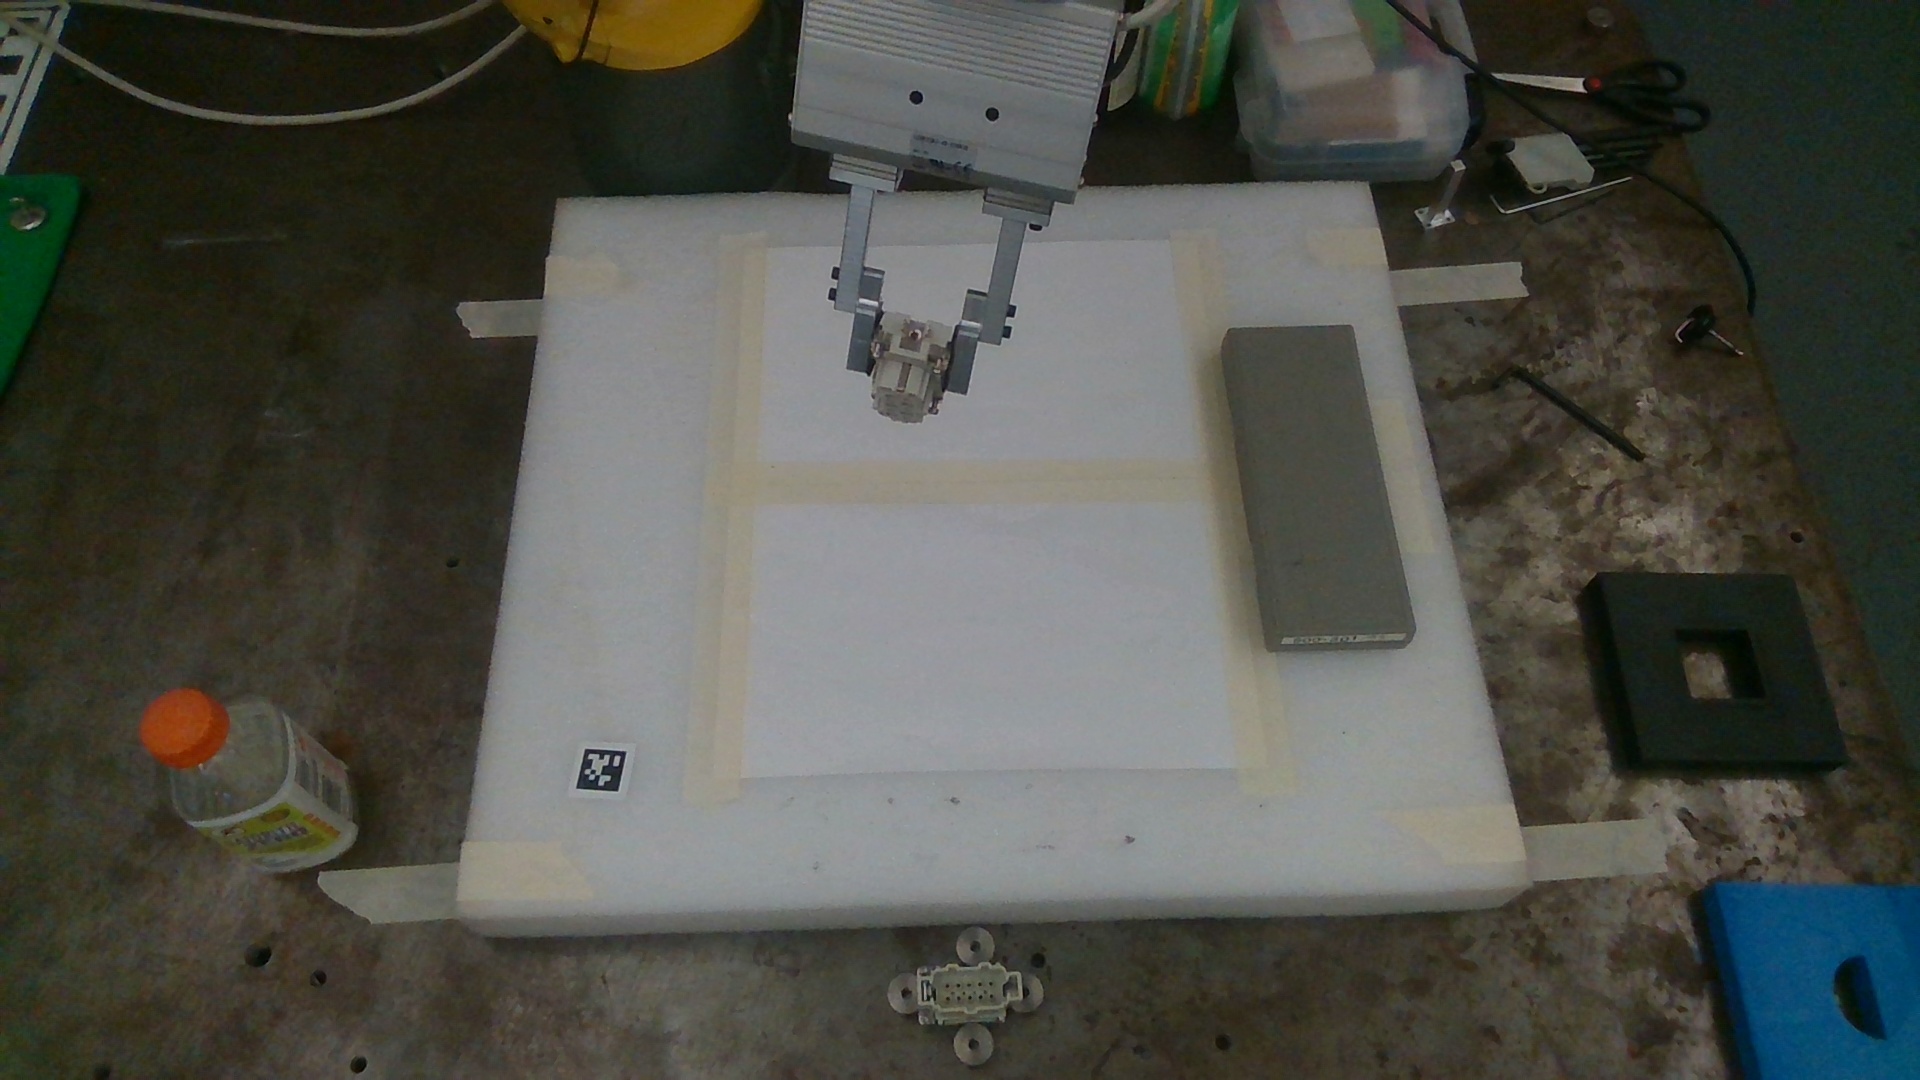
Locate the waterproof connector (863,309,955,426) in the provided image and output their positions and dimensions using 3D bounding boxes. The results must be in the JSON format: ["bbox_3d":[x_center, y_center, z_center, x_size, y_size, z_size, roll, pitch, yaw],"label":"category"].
[{"bbox_3d":[-0.024,-0.077,0.634,0.037,0.069,0.038,13,80,5],"label":"waterproof connector"}]
